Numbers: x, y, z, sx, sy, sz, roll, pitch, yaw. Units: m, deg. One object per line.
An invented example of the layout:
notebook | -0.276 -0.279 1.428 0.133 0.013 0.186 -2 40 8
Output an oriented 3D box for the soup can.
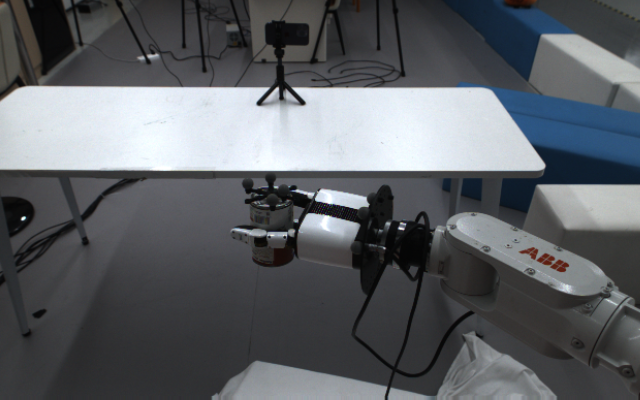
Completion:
soup can | -0.072 0.043 0.738 0.067 0.101 0.067 1 25 0
